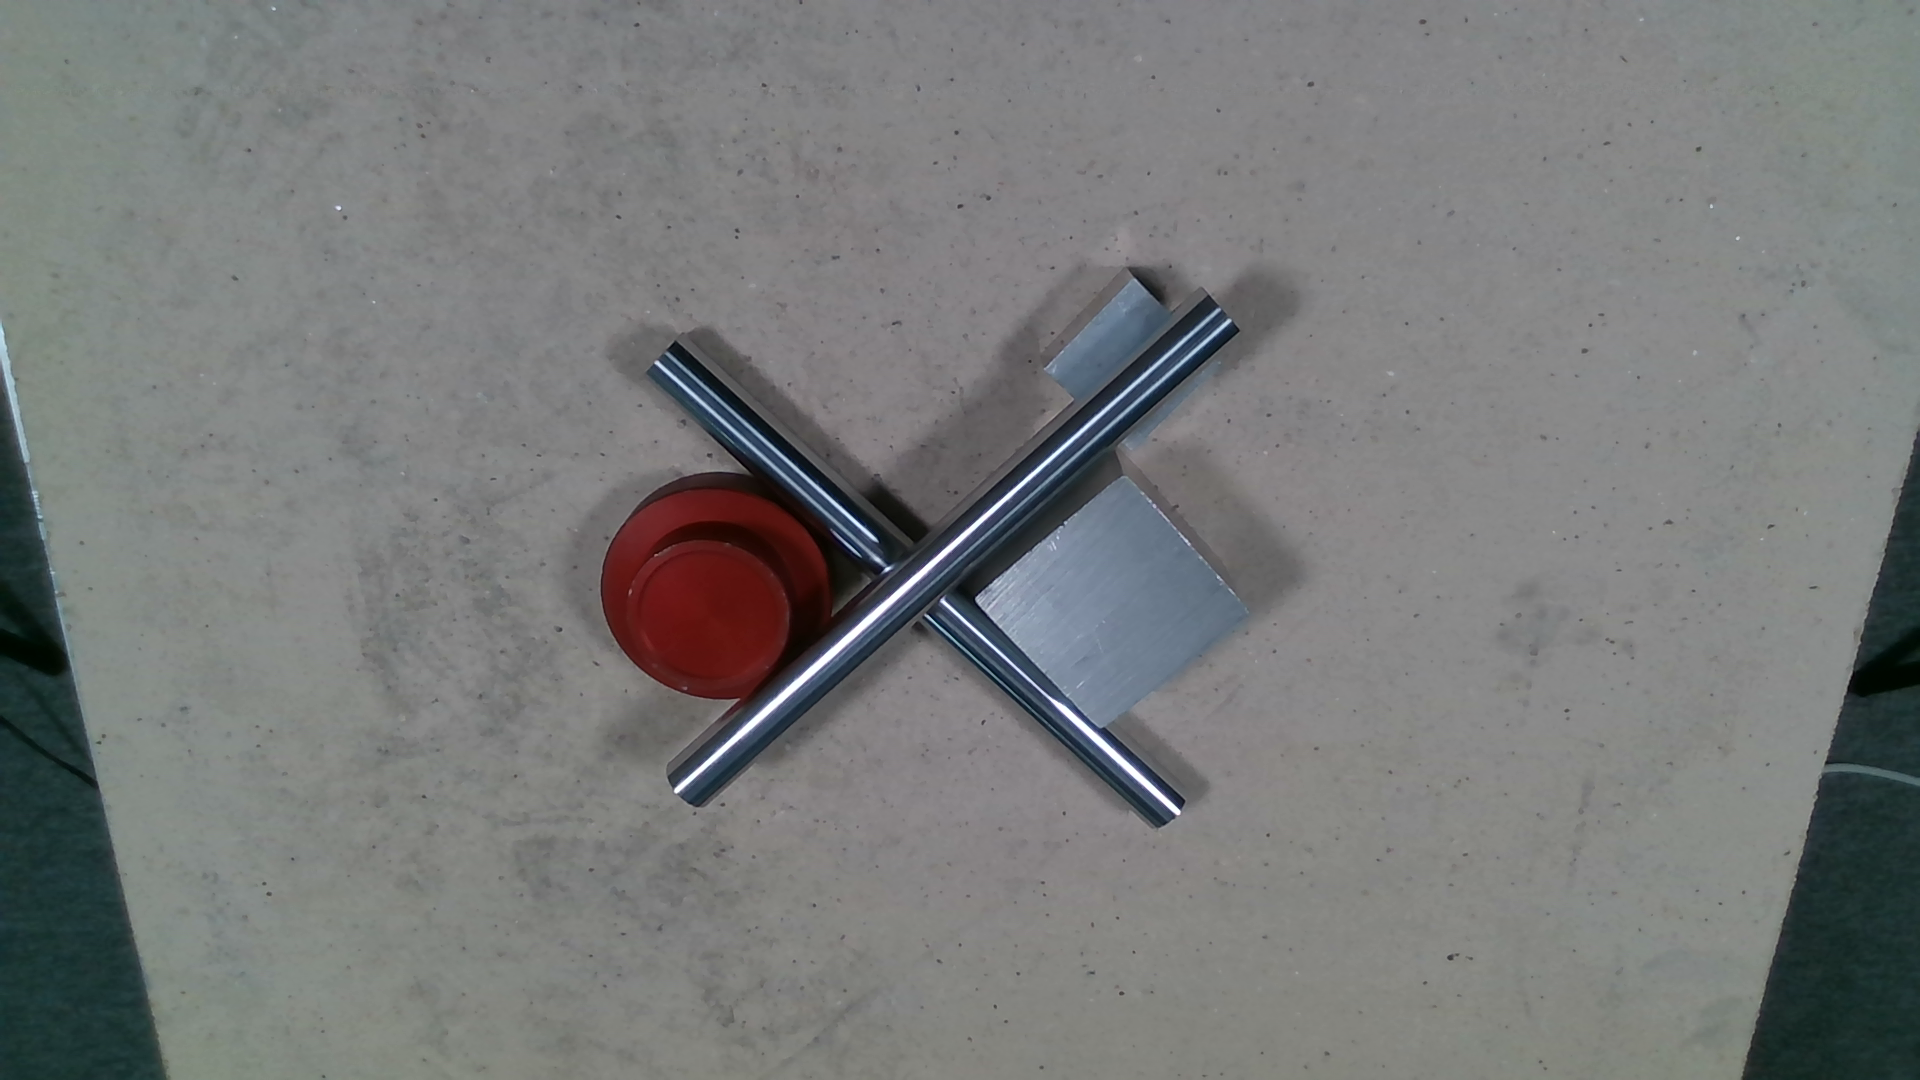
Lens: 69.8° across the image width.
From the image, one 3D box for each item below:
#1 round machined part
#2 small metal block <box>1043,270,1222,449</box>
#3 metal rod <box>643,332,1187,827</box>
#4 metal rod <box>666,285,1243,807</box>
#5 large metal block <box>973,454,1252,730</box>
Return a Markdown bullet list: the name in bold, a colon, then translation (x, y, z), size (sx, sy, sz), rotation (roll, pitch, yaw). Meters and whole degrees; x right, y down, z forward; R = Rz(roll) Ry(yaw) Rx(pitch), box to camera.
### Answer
- **round machined part**: translation (-0.104, 0.024, 0.584), size (0.098, 0.042, 0.098), rotation (0, 110, 0)
- **small metal block**: translation (0.069, -0.074, 0.558), size (0.050, 0.025, 0.050), rotation (41, 105, -14)
- **metal rod**: translation (-0.013, 0.023, 0.595), size (0.300, 0.025, 0.025), rotation (42, 105, -14)
- **metal rod**: translation (-0.009, 0.009, 0.561), size (0.300, 0.025, 0.025), rotation (-42, 105, 14)
- **large metal block**: translation (0.062, 0.018, 0.579), size (0.080, 0.050, 0.080), rotation (-40, 105, 13)
